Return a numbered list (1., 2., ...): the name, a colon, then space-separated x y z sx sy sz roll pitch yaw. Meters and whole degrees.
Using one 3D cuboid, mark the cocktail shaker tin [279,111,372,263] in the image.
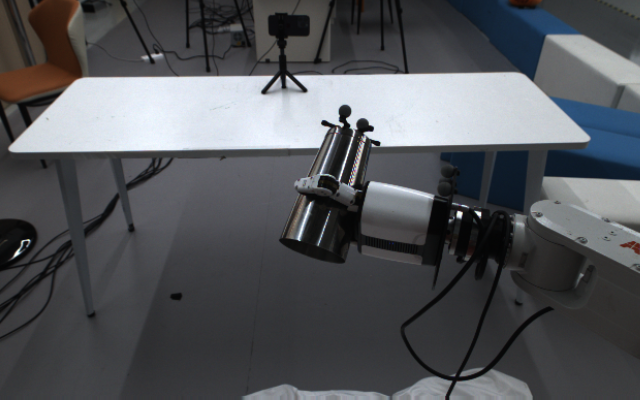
1. cocktail shaker tin: 0.015 -0.009 0.655 0.093 0.093 0.170 14 73 17
